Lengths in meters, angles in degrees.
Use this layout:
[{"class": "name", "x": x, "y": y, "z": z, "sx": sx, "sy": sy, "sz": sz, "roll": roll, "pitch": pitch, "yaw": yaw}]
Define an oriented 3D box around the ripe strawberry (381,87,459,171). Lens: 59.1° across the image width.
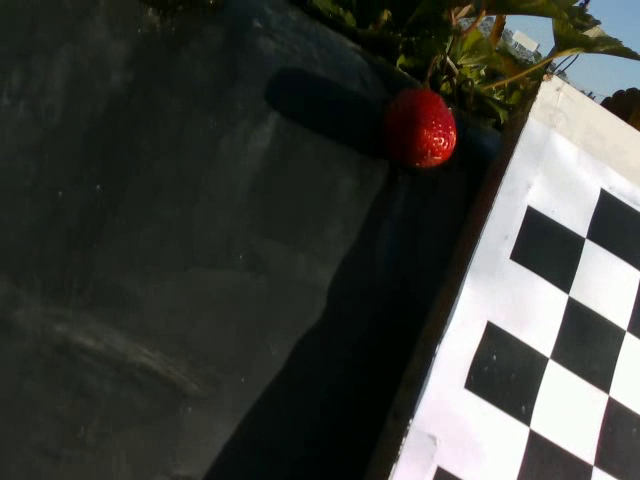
[{"class": "ripe strawberry", "x": 0.032, "y": -0.033, "z": 0.176, "sx": 0.034, "sy": 0.033, "sz": 0.038, "roll": 29, "pitch": 14, "yaw": -5}]
